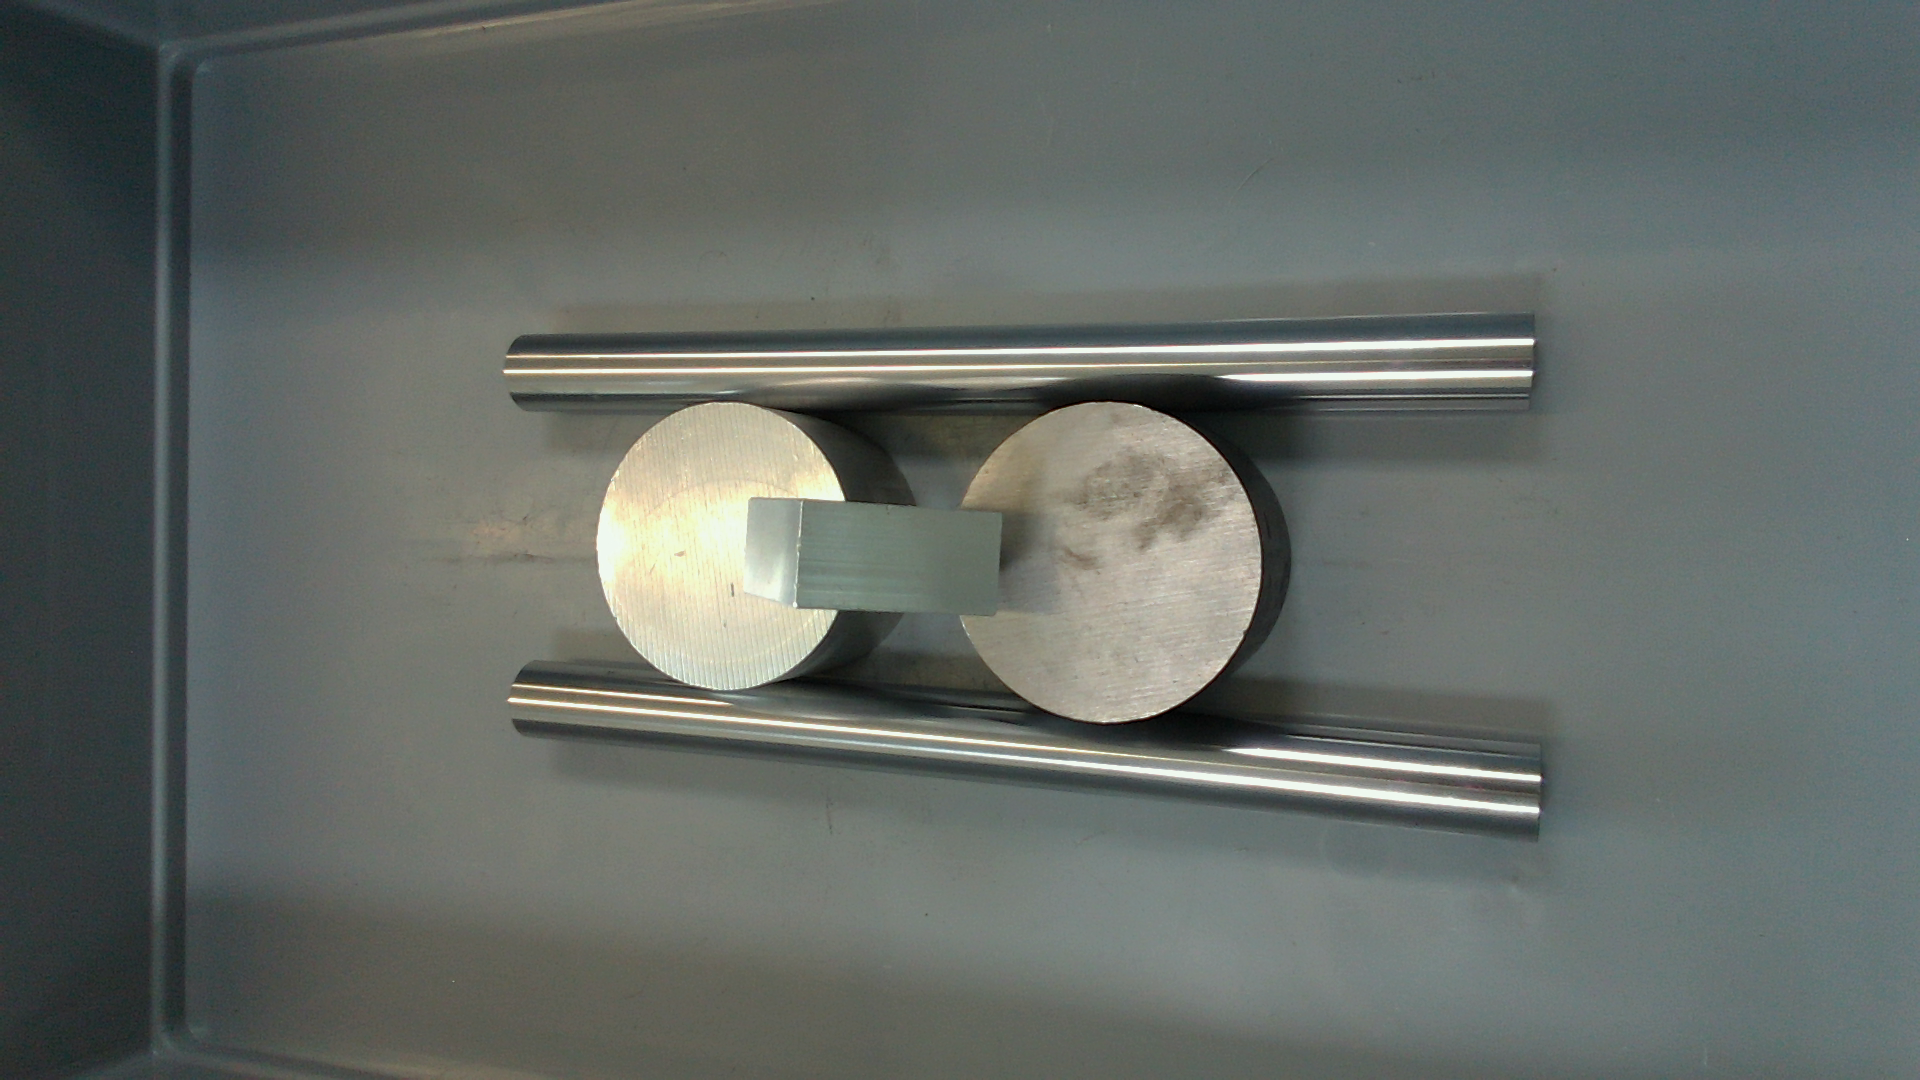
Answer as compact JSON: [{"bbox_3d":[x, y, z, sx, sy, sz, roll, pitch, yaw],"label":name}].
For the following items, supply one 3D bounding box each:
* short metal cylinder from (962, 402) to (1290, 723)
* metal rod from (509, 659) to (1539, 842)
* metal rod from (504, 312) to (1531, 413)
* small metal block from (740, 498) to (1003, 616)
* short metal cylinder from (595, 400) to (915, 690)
[{"bbox_3d":[0.044,0.006,0.366,0.080,0.050,0.080,0,90,20],"label":"short metal cylinder"},{"bbox_3d":[0.003,0.057,0.394,0.299,0.025,0.025,2,91,20],"label":"metal rod"},{"bbox_3d":[0.001,-0.049,0.394,0.299,0.025,0.025,2,91,20],"label":"metal rod"},{"bbox_3d":[-0.023,0.004,0.341,0.050,0.050,0.025,3,90,-23],"label":"small metal block"},{"bbox_3d":[-0.058,0.001,0.403,0.080,0.050,0.080,0,90,20],"label":"short metal cylinder"}]
